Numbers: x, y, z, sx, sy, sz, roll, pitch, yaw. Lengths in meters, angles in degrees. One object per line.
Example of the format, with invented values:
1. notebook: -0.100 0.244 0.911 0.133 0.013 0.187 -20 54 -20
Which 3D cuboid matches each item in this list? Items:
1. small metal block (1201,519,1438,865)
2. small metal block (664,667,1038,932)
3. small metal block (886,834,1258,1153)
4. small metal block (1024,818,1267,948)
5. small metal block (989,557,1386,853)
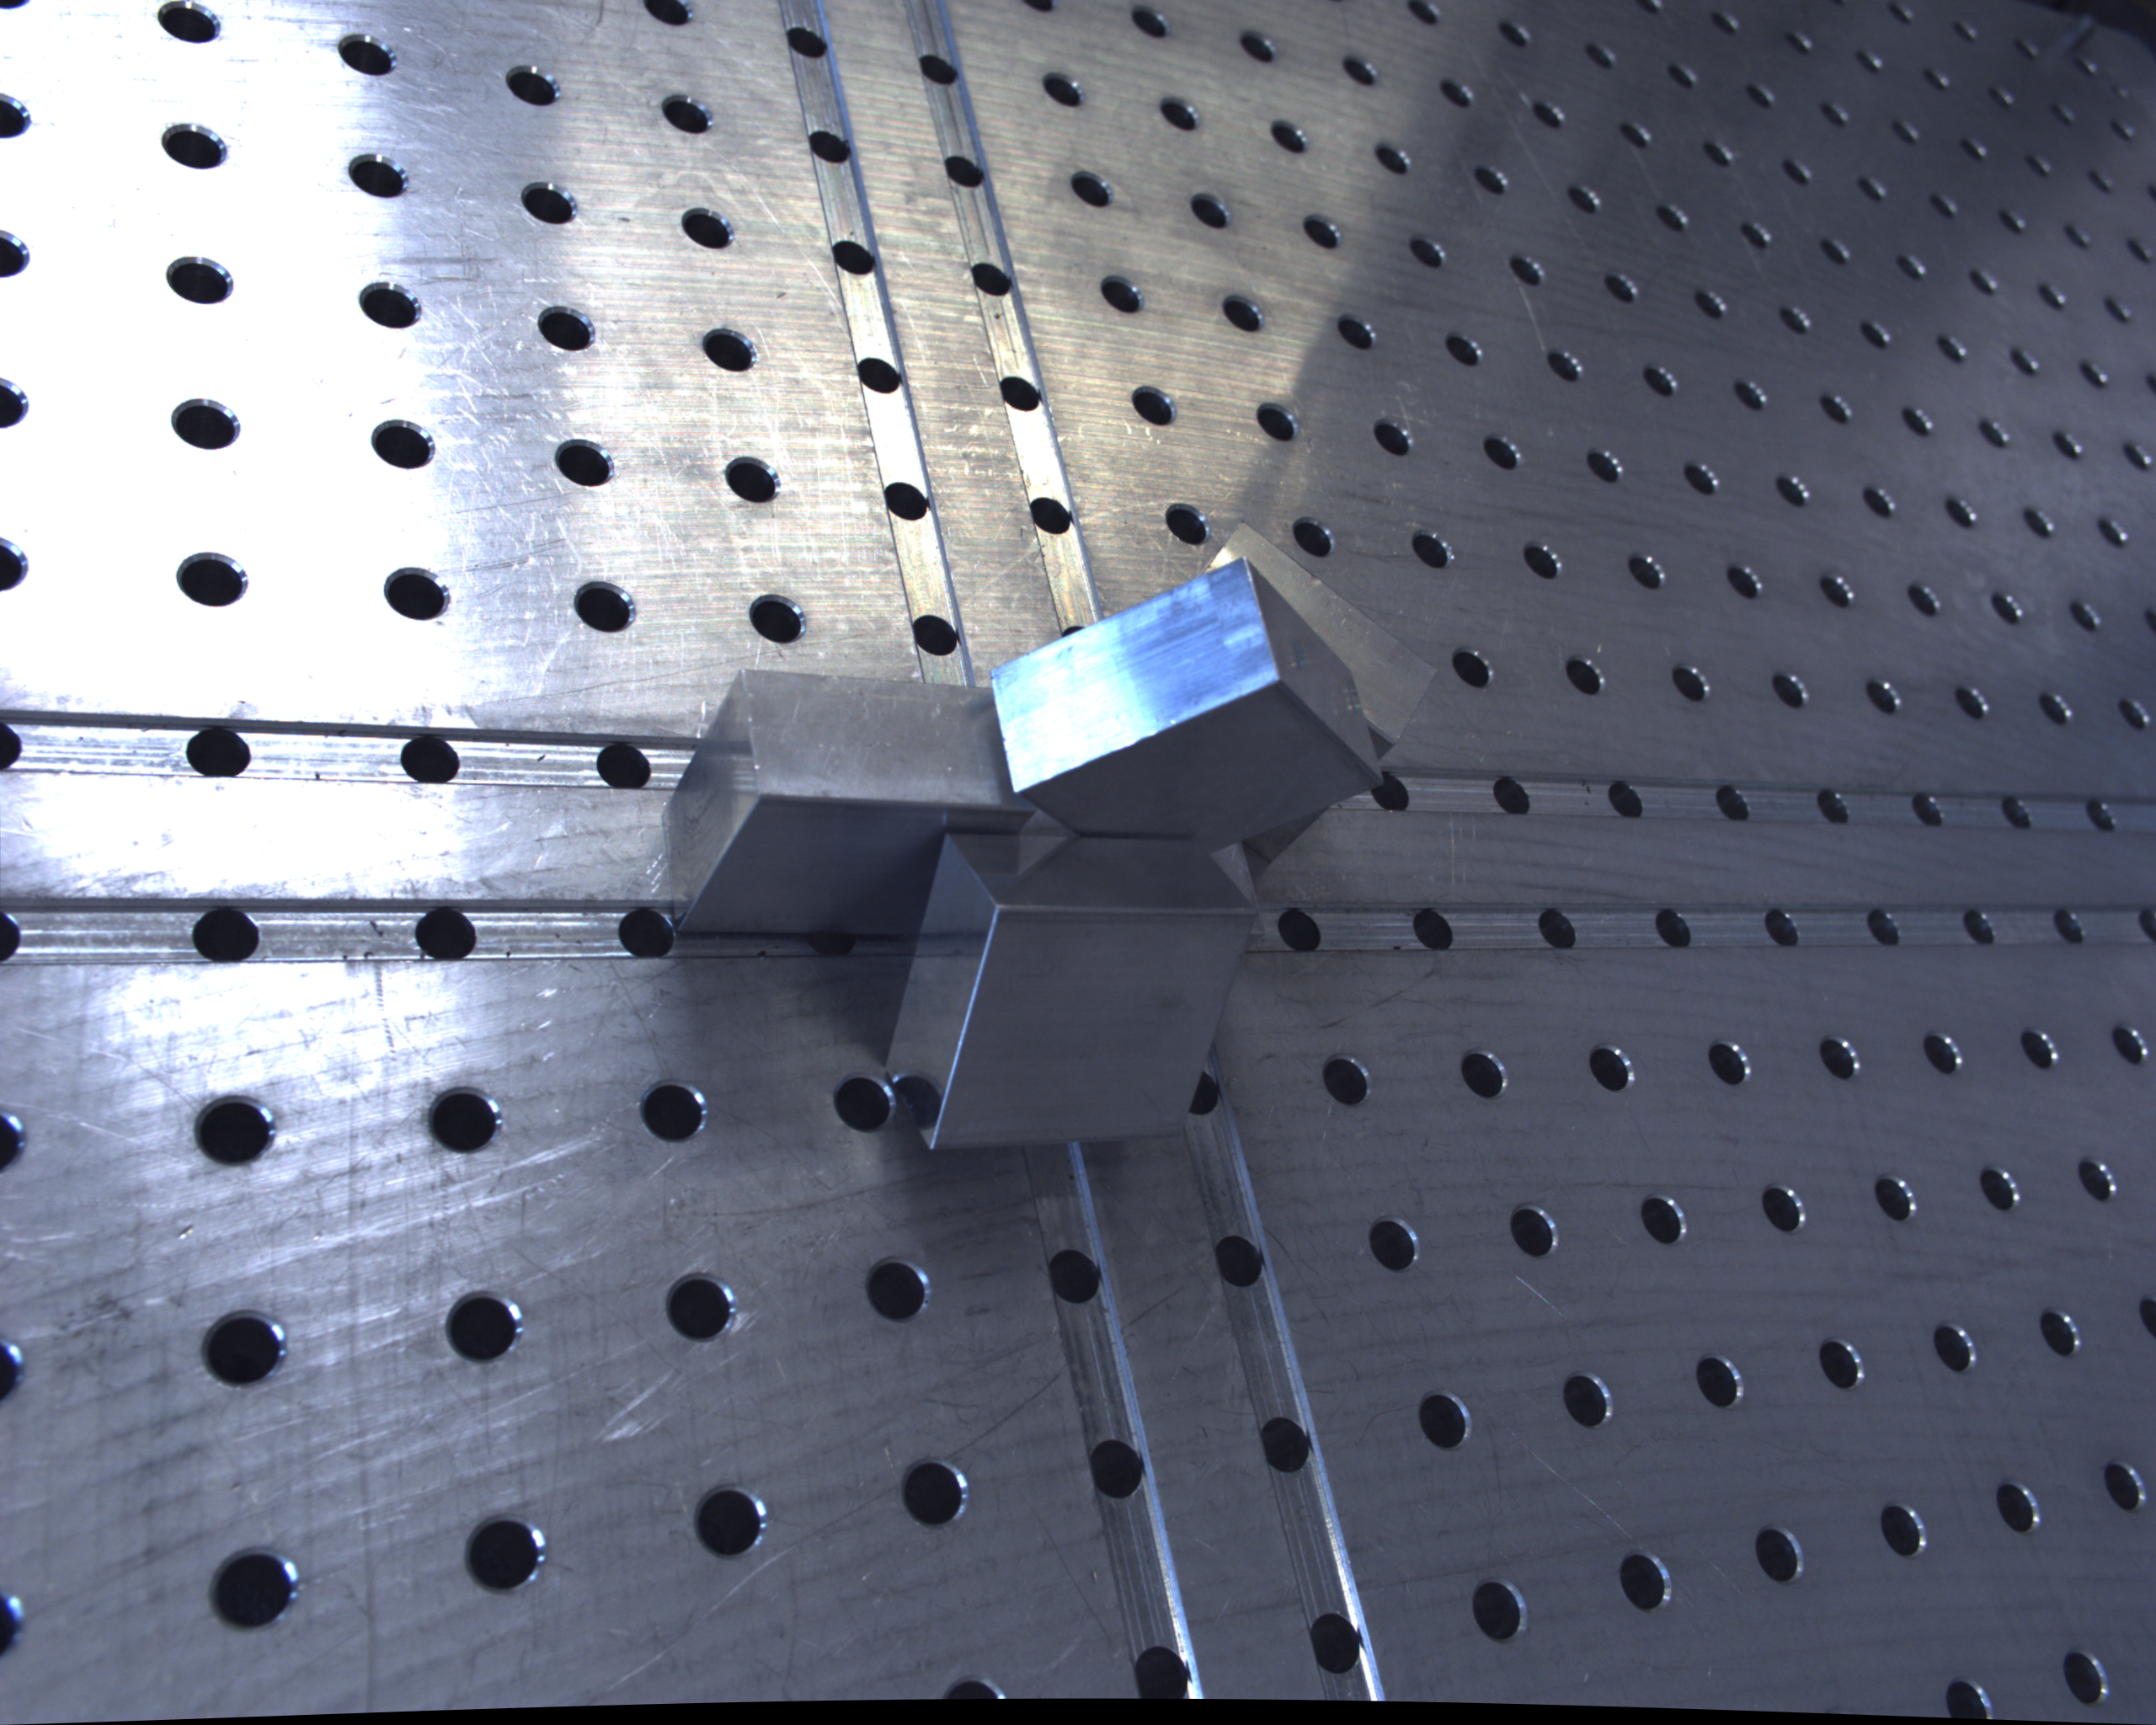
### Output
1. small metal block: 0.037 -0.034 0.432 0.050 0.050 0.025 37 50 -4
2. small metal block: -0.042 -0.010 0.374 0.050 0.050 0.025 1 62 -27
3. small metal block: -0.002 0.023 0.373 0.050 0.050 0.025 1 30 -27
4. small metal block: 0.004 -0.003 0.411 0.050 0.025 0.050 2 61 -28
5. small metal block: 0.020 -0.024 0.372 0.050 0.050 0.025 34 39 -56
